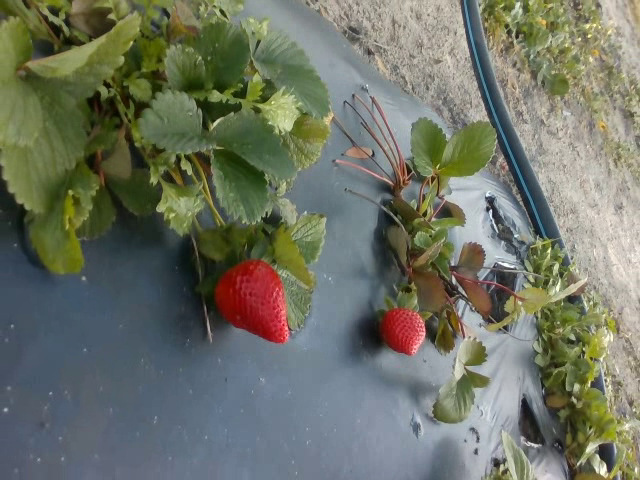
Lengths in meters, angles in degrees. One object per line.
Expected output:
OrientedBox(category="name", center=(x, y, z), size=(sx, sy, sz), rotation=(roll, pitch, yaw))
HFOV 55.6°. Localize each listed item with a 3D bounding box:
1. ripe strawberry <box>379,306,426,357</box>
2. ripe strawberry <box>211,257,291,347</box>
OrientedBox(category="ripe strawberry", center=(0.061, 0.072, 0.431), size=(0.041, 0.045, 0.052), rotation=(-1, 26, -1))
OrientedBox(category="ripe strawberry", center=(-0.032, 0.037, 0.310), size=(0.046, 0.051, 0.050), rotation=(-33, 42, -14))
